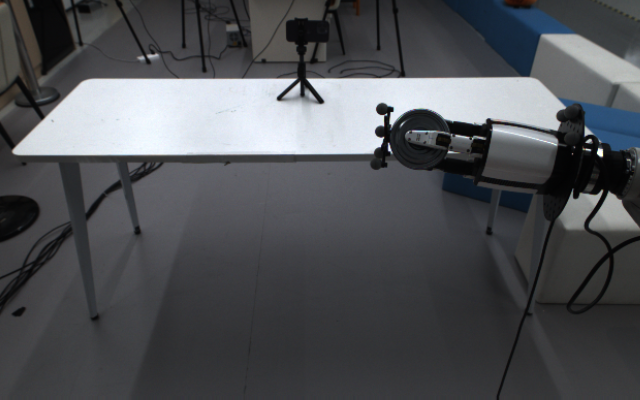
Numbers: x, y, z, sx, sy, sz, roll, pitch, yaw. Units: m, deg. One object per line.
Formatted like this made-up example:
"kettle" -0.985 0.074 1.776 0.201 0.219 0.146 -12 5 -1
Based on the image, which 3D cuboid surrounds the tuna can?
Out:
"tuna can" 0.145 -0.083 0.687 0.085 0.085 0.034 10 2 11
